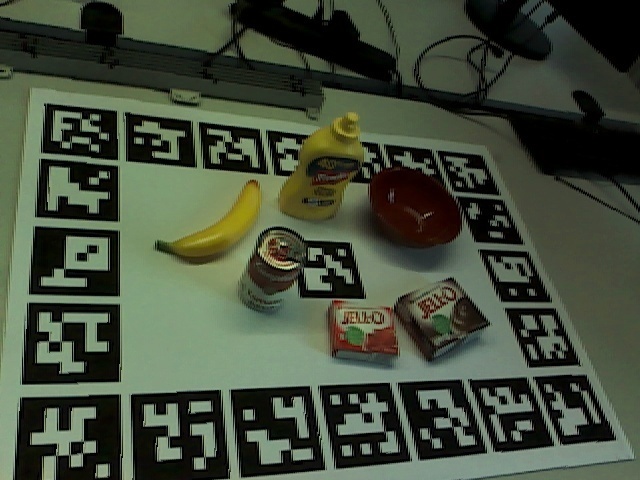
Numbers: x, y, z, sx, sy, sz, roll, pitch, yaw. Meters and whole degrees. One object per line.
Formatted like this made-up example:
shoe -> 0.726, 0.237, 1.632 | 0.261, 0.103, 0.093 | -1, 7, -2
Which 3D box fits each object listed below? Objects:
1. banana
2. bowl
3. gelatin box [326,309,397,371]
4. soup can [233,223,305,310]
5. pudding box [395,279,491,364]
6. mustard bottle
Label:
banana -> -0.141, -0.031, 0.882 | 0.074, 0.039, 0.197 | 28, 46, 14
bowl -> 0.151, -0.036, 1.005 | 0.161, 0.055, 0.162 | 11, 49, -13
gelatin box -> 0.055, 0.135, 0.834 | 0.089, 0.030, 0.073 | 9, 53, -16
soup can -> -0.069, 0.036, 0.801 | 0.067, 0.102, 0.068 | 14, 46, -15
pudding box -> 0.177, 0.117, 0.896 | 0.113, 0.039, 0.090 | -20, 68, -34
mustard bottle -> 0.016, -0.108, 0.895 | 0.096, 0.191, 0.059 | 4, 49, -22
